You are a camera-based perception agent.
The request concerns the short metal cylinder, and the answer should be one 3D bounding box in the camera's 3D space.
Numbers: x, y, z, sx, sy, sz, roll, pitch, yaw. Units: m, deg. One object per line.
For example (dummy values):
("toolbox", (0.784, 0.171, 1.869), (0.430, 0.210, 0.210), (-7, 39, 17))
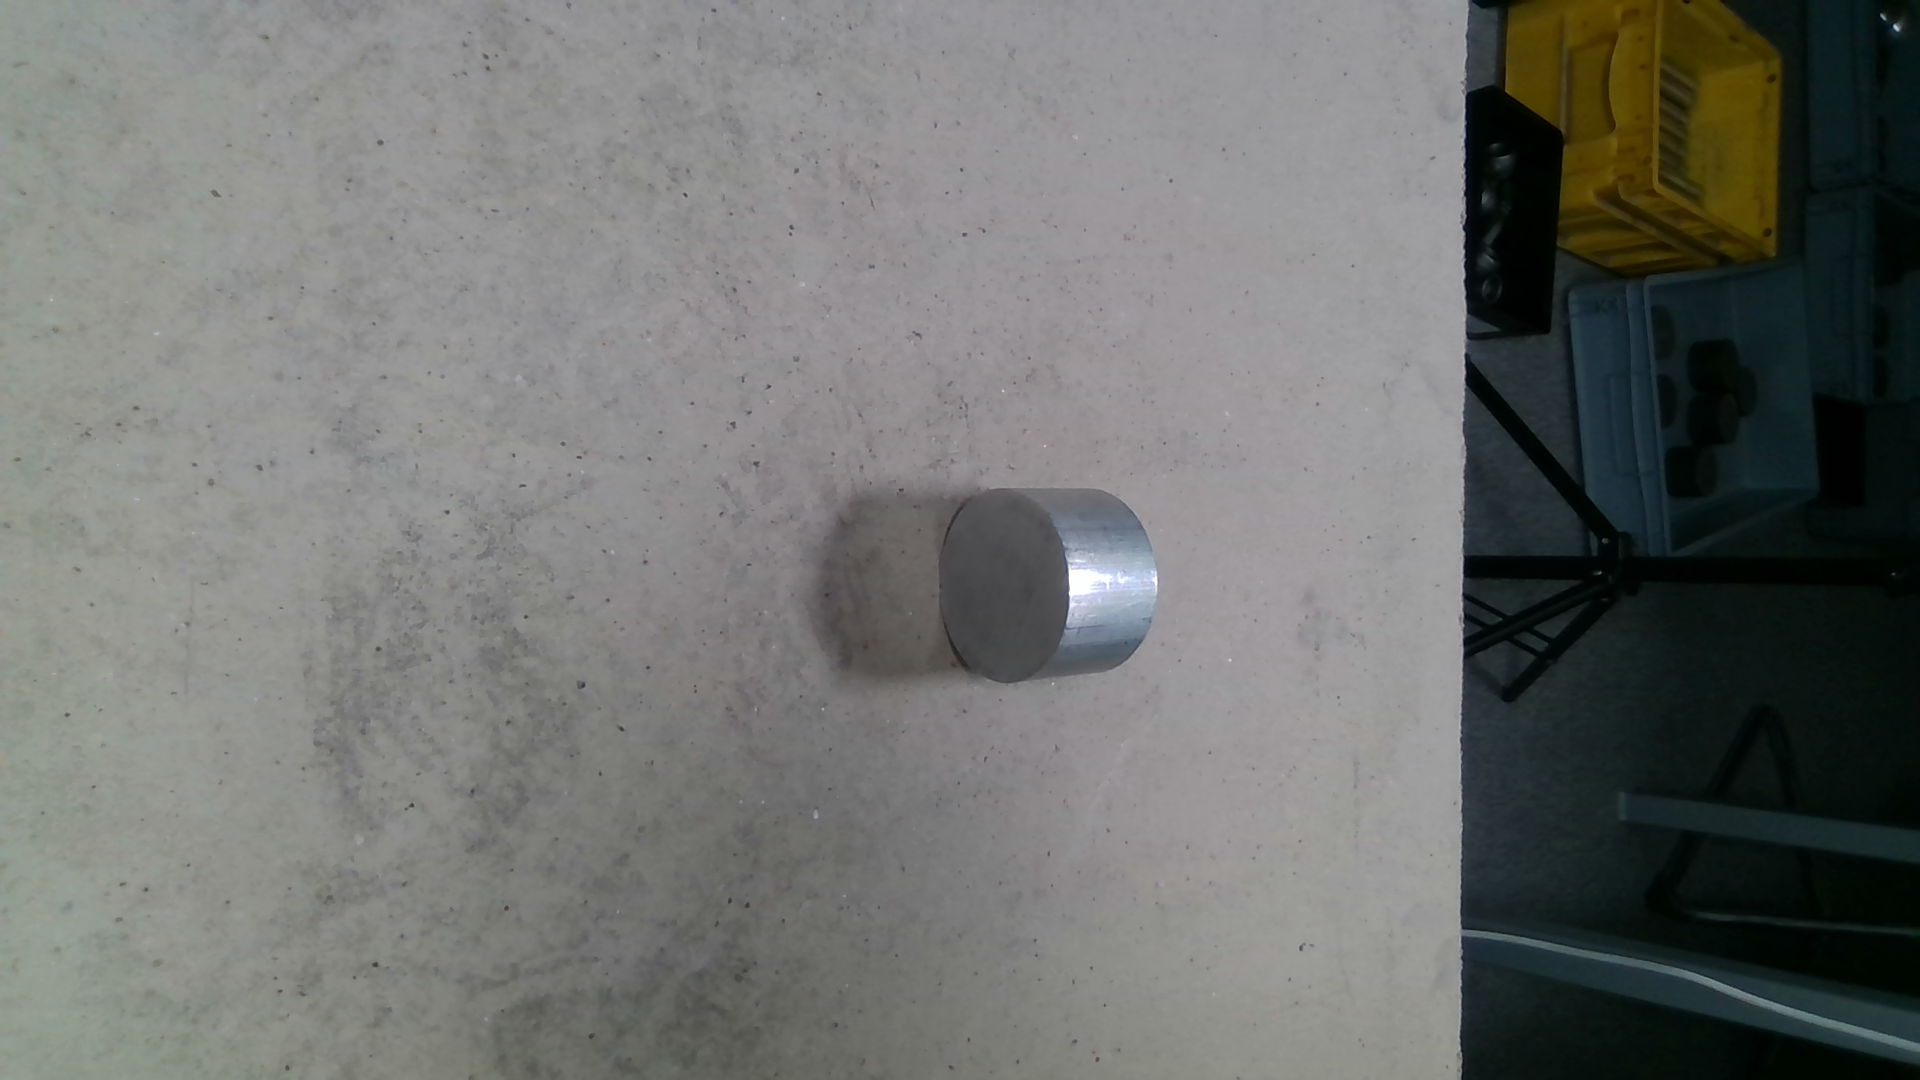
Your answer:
("short metal cylinder", (0.036, 0.018, 0.578), (0.050, 0.080, 0.080), (-2, 91, -40))
